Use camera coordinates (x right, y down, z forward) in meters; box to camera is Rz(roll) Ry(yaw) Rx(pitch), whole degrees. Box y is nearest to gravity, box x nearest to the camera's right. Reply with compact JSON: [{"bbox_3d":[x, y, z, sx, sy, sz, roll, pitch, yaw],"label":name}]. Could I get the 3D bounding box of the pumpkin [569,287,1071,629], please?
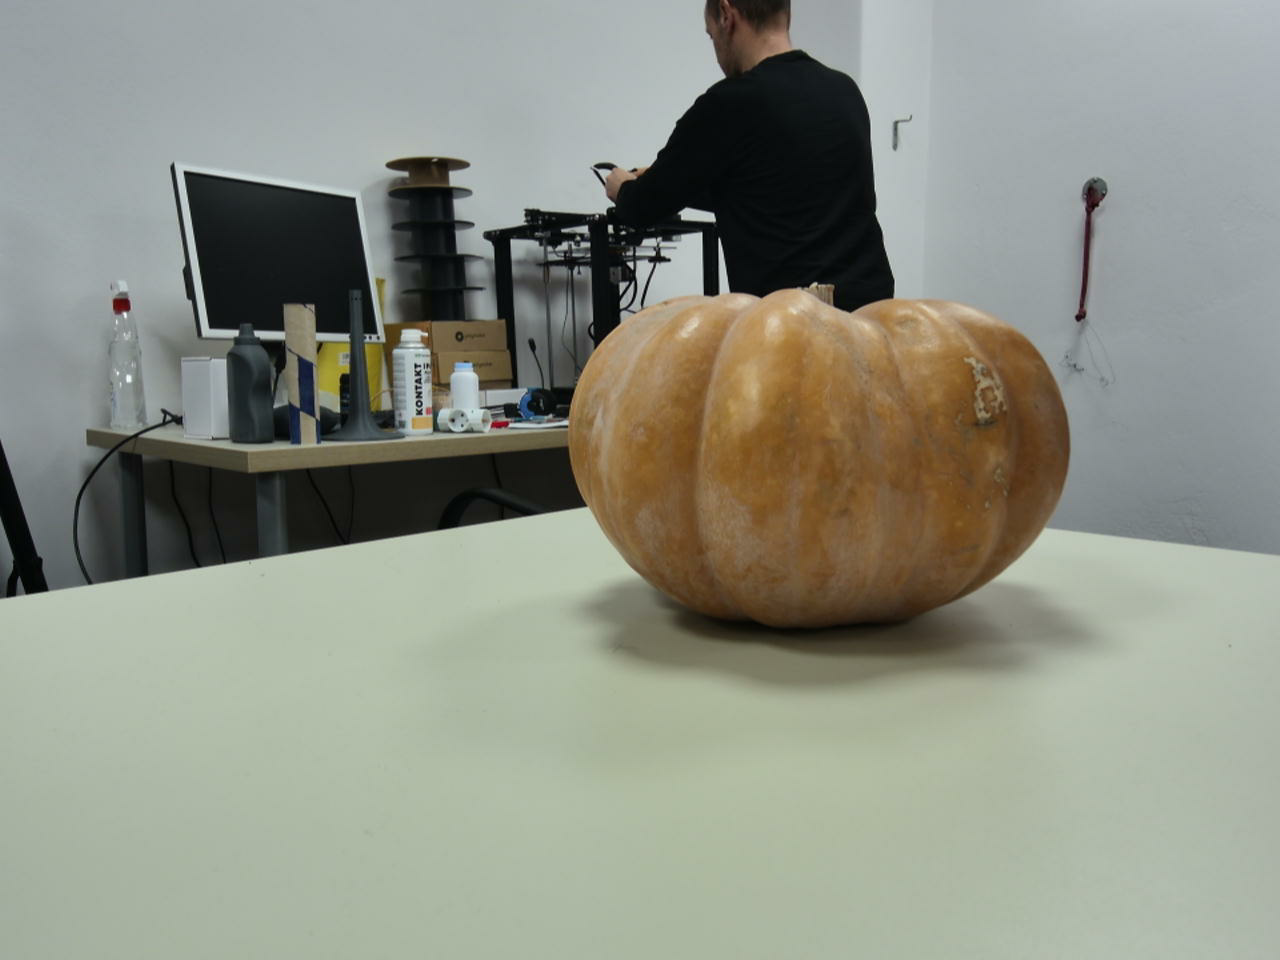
[{"bbox_3d":[0.091,-0.015,0.565,0.277,0.181,0.277,0,5,0],"label":"pumpkin"}]
